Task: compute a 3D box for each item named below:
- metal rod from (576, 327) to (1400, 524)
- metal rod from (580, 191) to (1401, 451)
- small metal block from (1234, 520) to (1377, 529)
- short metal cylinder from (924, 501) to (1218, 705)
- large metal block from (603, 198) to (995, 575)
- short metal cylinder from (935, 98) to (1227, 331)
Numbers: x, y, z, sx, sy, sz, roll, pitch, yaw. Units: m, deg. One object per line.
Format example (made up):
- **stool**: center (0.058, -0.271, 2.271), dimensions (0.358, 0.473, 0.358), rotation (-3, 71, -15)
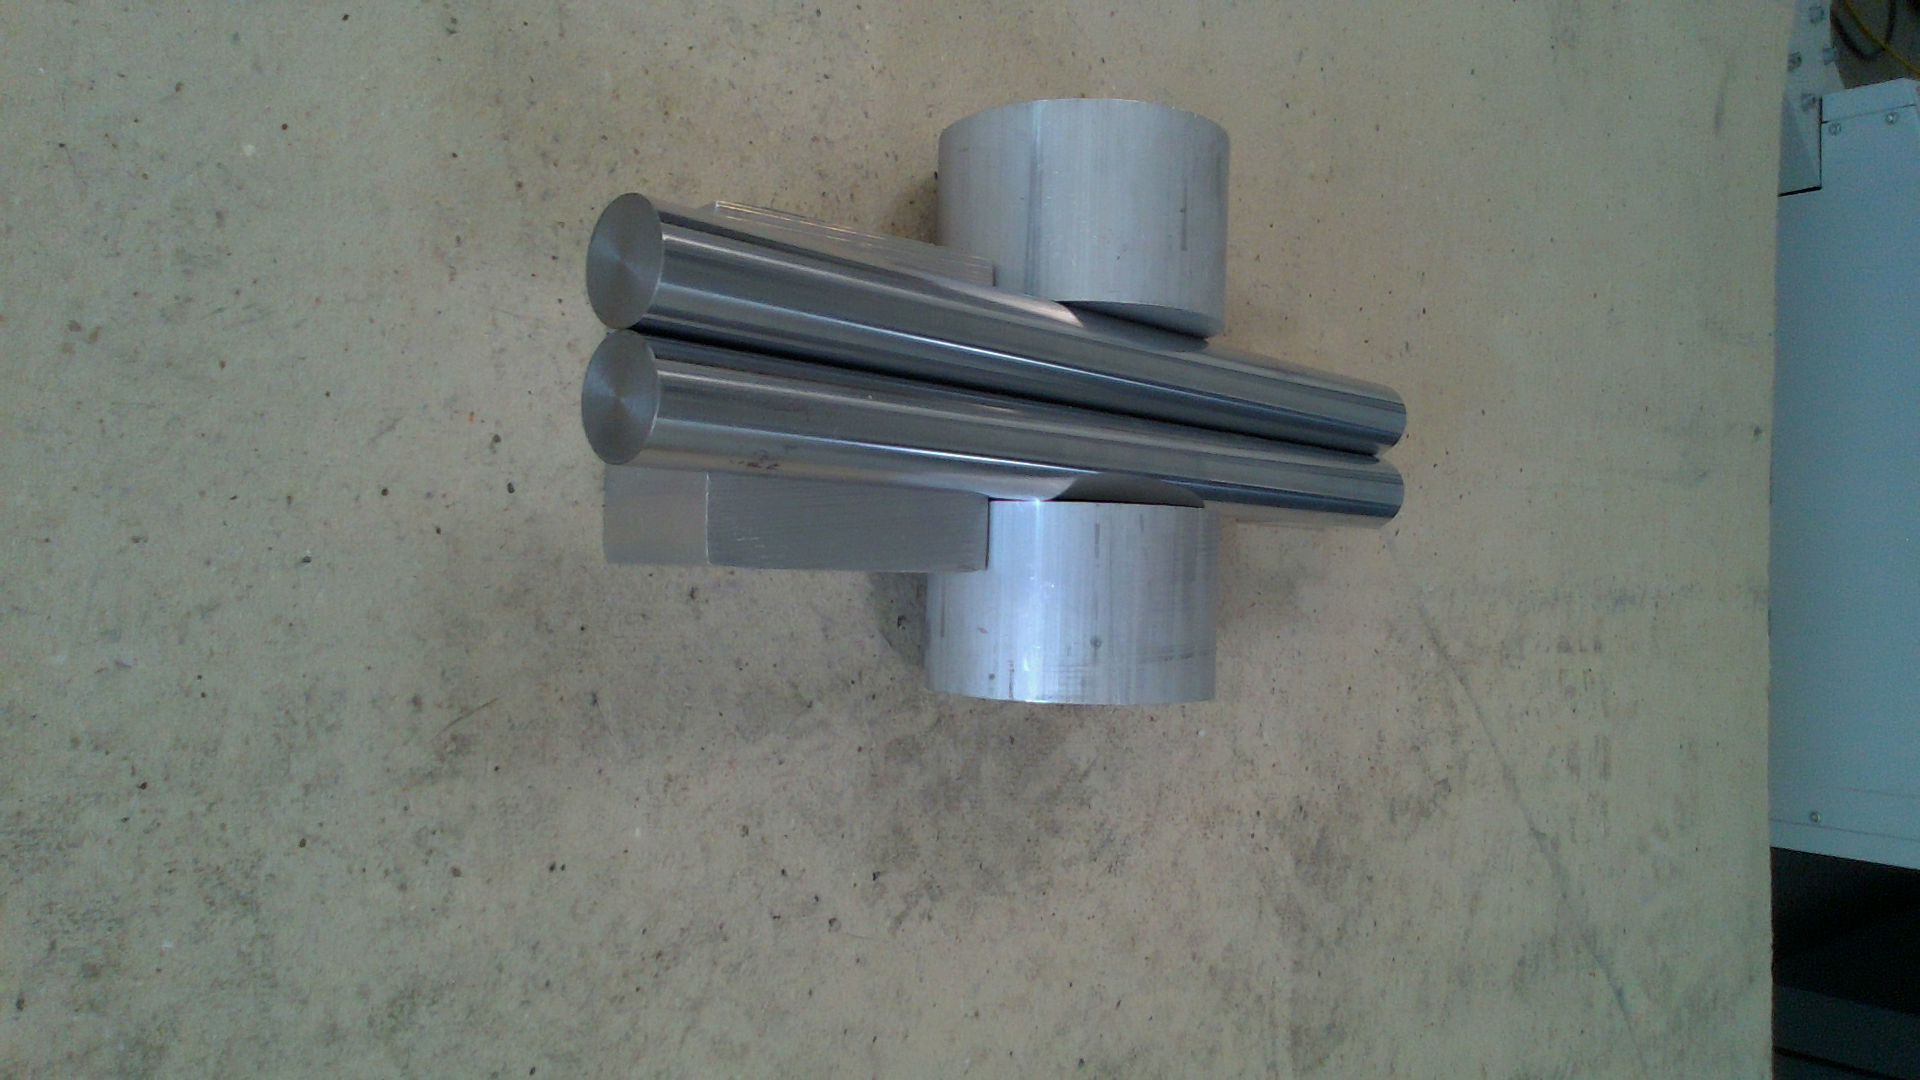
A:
- **metal rod**: center (0.038, -0.022, 0.363), dimensions (0.301, 0.025, 0.025), rotation (3, 88, -48)
- **metal rod**: center (0.039, -0.047, 0.363), dimensions (0.301, 0.025, 0.025), rotation (3, 88, -48)
- **small metal block**: center (0.125, -0.030, 0.494), dimensions (0.050, 0.025, 0.050), rotation (4, 88, -39)
- **short metal cylinder**: center (0.030, 0.016, 0.378), dimensions (0.080, 0.080, 0.050), rotation (2, 89, -40)
- **large metal block**: center (-0.039, -0.033, 0.341), dimensions (0.080, 0.050, 0.080), rotation (2, 89, -40)
- **short metal cylinder**: center (0.033, -0.084, 0.381), dimensions (0.080, 0.080, 0.050), rotation (2, 89, -40)
